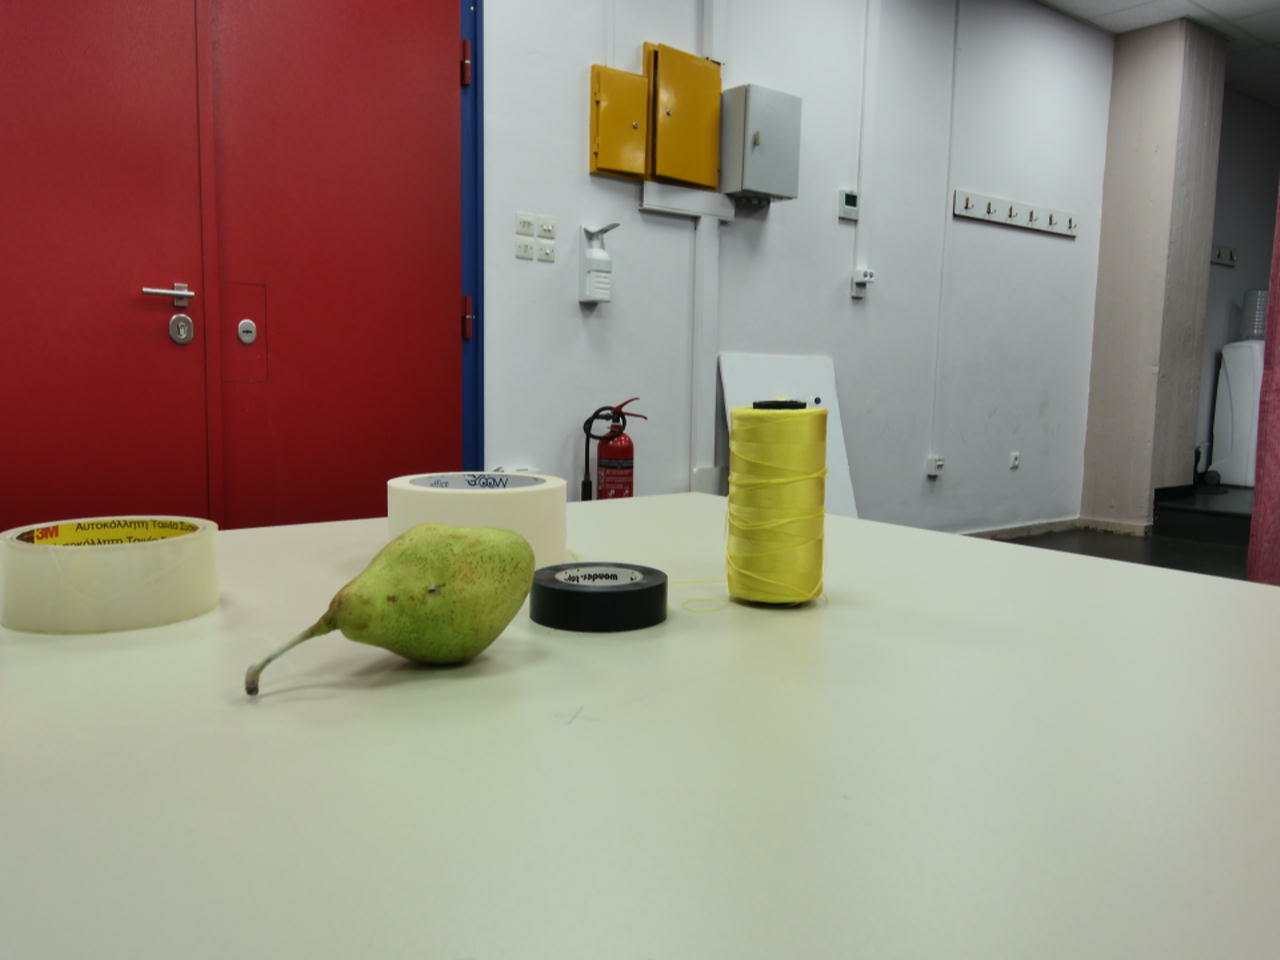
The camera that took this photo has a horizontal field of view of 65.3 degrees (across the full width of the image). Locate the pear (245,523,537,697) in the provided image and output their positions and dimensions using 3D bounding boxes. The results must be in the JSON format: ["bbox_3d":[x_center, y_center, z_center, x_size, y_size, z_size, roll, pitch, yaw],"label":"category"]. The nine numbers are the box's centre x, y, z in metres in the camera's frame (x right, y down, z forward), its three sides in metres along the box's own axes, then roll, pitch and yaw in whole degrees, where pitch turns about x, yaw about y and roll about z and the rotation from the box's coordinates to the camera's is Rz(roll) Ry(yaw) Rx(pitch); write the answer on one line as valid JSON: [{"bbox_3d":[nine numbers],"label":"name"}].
[{"bbox_3d":[-0.096,0.046,0.393,0.111,0.056,0.056,-2,4,-23],"label":"pear"}]
